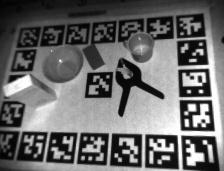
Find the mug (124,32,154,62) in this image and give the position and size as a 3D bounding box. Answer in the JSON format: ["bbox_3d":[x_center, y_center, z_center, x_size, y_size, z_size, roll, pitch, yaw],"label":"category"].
[{"bbox_3d":[0.092,-0.139,0.771,0.116,0.082,0.093,25,79,15],"label":"mug"}]

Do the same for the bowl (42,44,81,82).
[{"bbox_3d":[-0.186,-0.075,0.825,0.161,0.055,0.161,-3,72,10],"label":"bowl"}]

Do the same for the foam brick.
[{"bbox_3d":[-0.069,-0.103,0.818,0.052,0.052,0.077,-28,70,4],"label":"foam brick"}]

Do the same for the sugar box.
[{"bbox_3d":[-0.276,0.036,0.744,0.093,0.178,0.045,-26,70,3],"label":"sugar box"}]

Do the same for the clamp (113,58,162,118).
[{"bbox_3d":[0.059,-0.011,0.757,0.165,0.037,0.201,-24,70,6],"label":"clamp"}]
